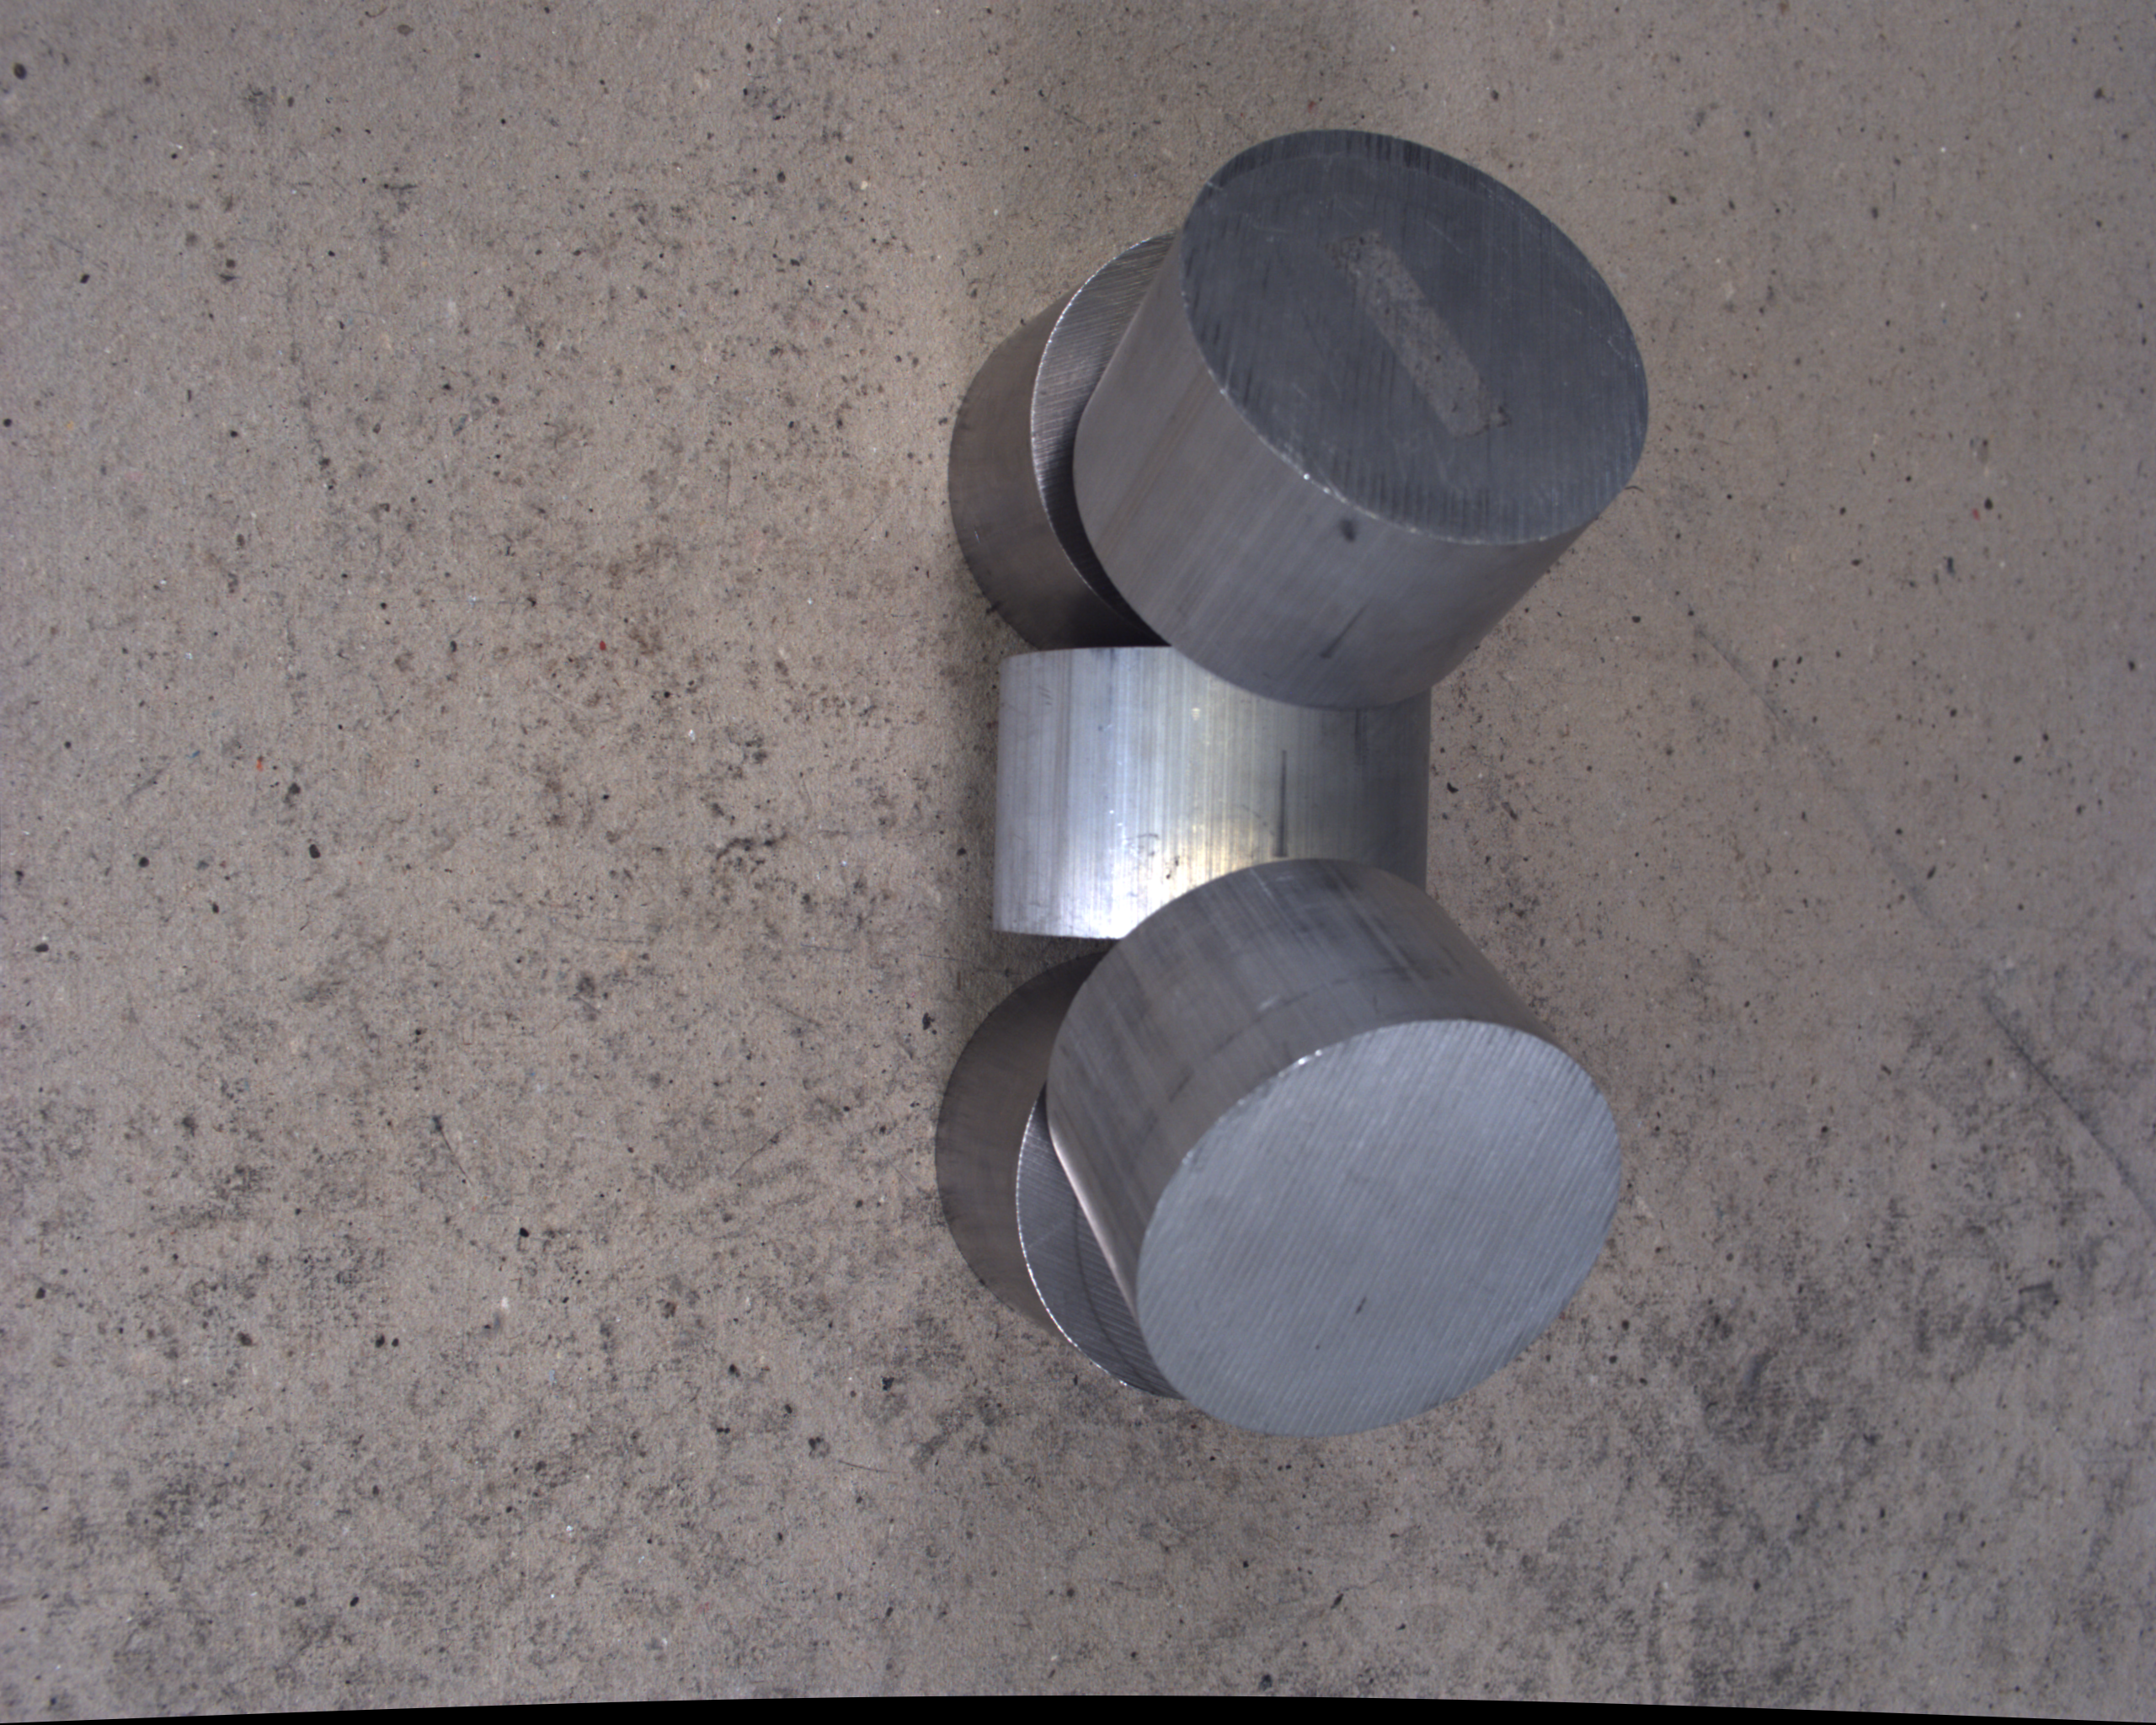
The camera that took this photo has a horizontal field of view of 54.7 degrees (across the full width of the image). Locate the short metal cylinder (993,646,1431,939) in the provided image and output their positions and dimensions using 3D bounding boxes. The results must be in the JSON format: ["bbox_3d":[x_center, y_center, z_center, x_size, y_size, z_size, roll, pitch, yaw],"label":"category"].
[{"bbox_3d":[0.025,-0.011,0.391,0.081,0.080,0.050,2,90,-20],"label":"short metal cylinder"}]

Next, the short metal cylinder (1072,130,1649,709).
[{"bbox_3d":[0.045,-0.072,0.344,0.081,0.050,0.080,9,62,-17],"label":"short metal cylinder"}]

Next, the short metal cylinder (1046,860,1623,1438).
[{"bbox_3d":[0.040,0.046,0.341,0.081,0.050,0.079,-8,120,-14],"label":"short metal cylinder"}]

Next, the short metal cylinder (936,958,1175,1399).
[{"bbox_3d":[0.018,0.058,0.404,0.081,0.050,0.080,0,90,-20],"label":"short metal cylinder"}]

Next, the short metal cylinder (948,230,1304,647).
[{"bbox_3d":[0.021,-0.077,0.405,0.081,0.050,0.080,0,90,-20],"label":"short metal cylinder"}]
